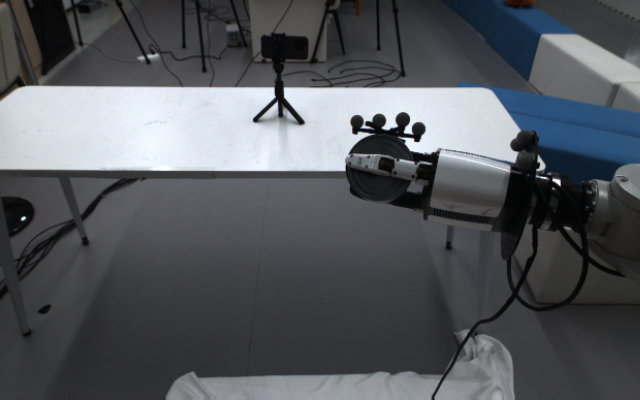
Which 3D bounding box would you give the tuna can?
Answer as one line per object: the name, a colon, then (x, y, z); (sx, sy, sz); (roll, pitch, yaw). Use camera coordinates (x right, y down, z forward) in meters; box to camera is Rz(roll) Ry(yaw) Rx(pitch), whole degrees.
tuna can: (0.078, -0.043, 0.618); (0.085, 0.085, 0.034); (11, -7, 12)
